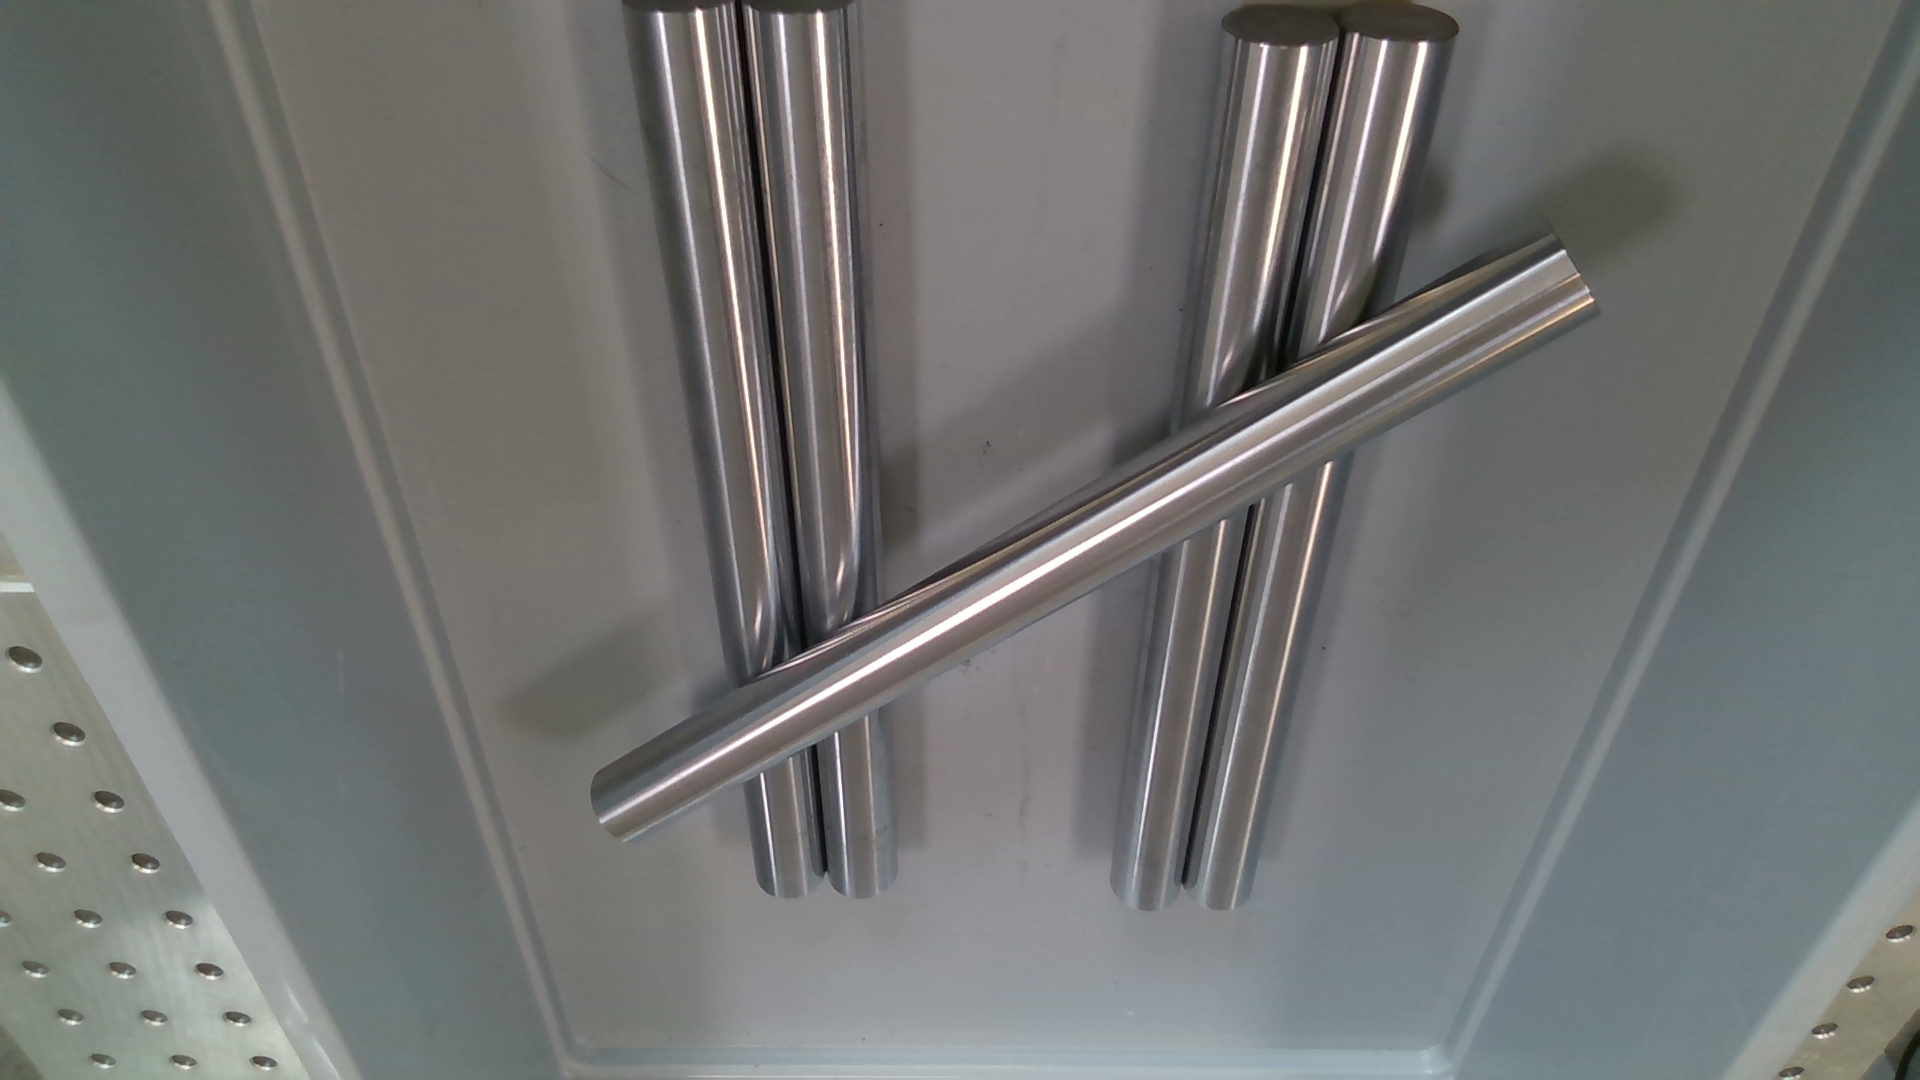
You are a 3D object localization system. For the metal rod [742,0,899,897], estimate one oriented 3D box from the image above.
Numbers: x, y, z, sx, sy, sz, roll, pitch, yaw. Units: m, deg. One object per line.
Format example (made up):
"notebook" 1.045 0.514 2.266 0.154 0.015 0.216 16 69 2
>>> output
"metal rod" -0.034 0.000 0.387 0.025 0.025 0.301 0 130 0

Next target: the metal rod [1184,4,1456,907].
"metal rod" 0.092 0.005 0.391 0.025 0.025 0.301 0 130 0

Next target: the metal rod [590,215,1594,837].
"metal rod" 0.015 0.009 0.363 0.300 0.025 0.025 -31 124 23

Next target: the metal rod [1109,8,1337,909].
"metal rod" 0.066 0.006 0.392 0.025 0.025 0.301 0 130 0

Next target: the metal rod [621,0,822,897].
"metal rod" -0.059 0.000 0.387 0.025 0.025 0.301 0 130 0
